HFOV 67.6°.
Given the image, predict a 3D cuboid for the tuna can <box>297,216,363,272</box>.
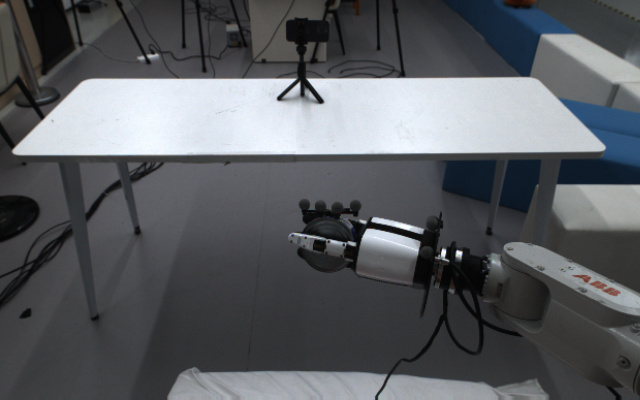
[{"bbox_3d":[0.016,0.066,0.738,0.085,0.085,0.034,12,8,14],"label":"tuna can"}]
